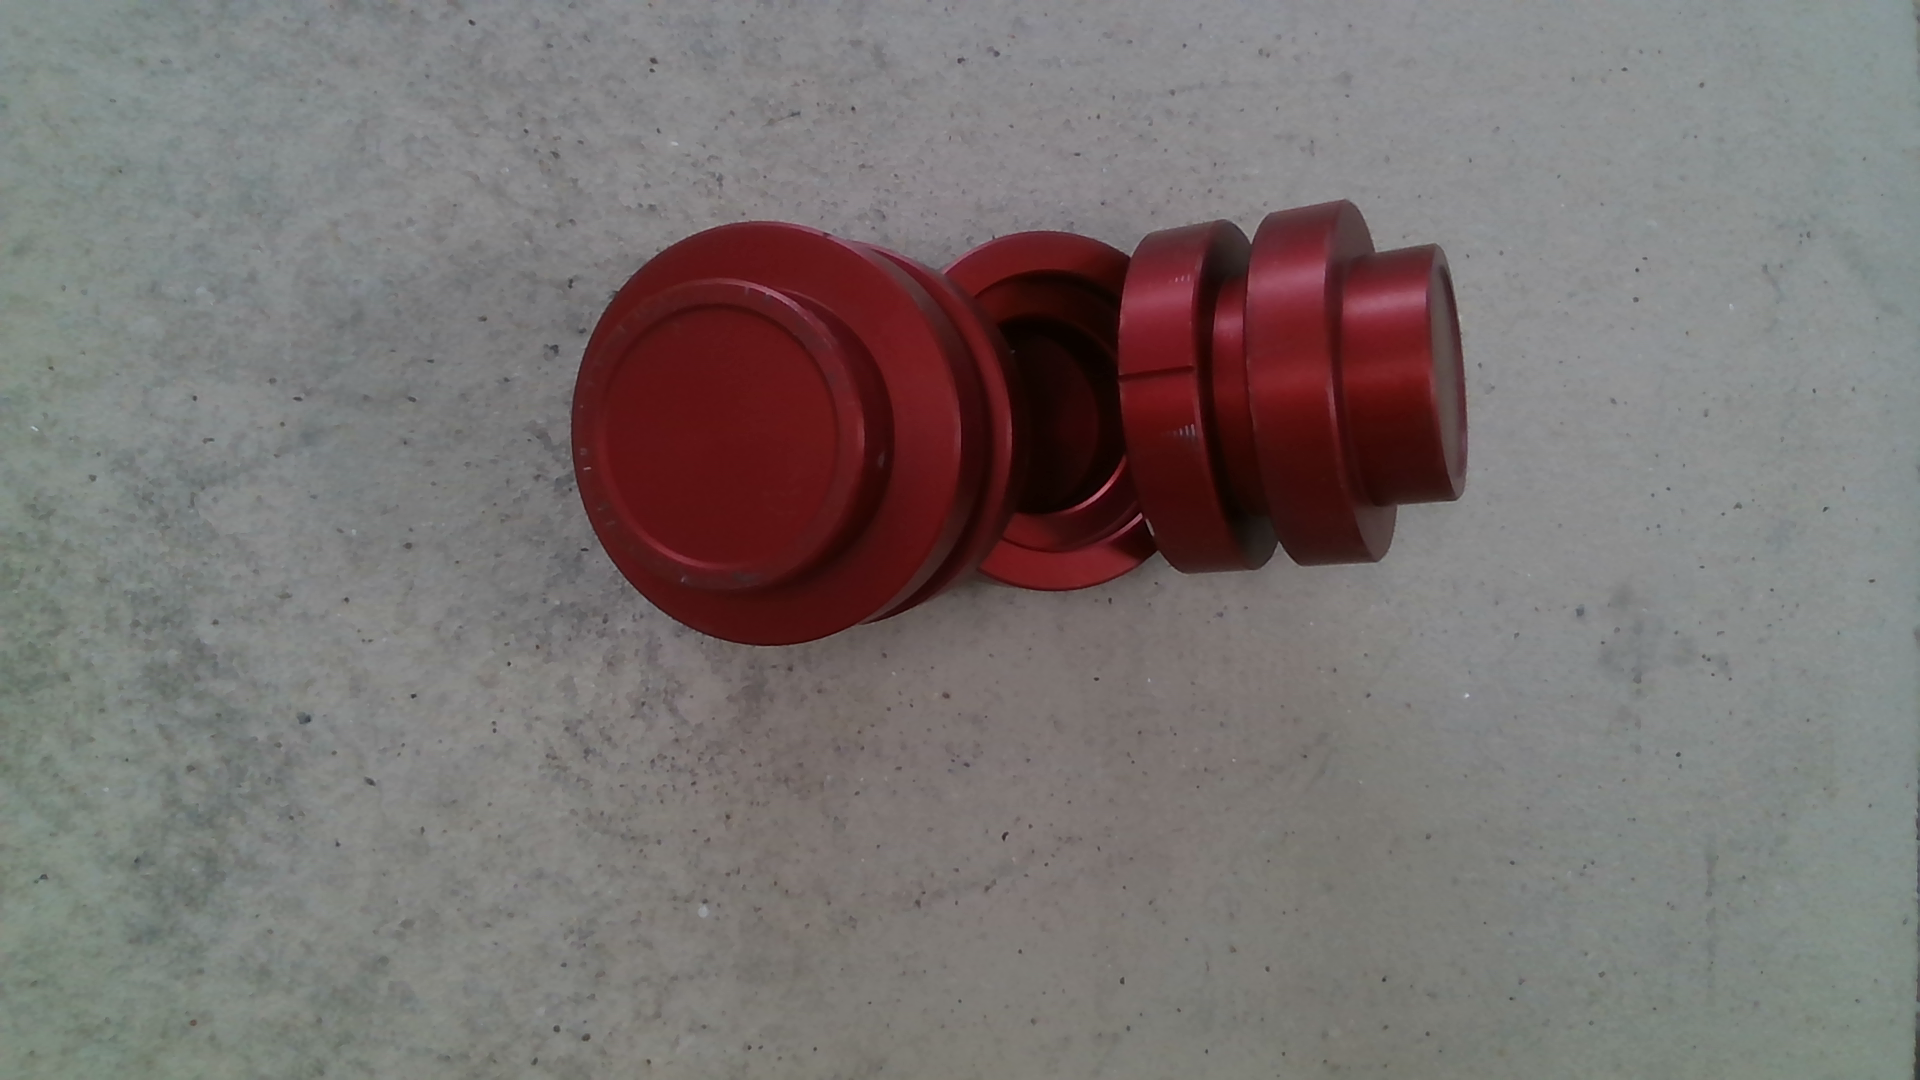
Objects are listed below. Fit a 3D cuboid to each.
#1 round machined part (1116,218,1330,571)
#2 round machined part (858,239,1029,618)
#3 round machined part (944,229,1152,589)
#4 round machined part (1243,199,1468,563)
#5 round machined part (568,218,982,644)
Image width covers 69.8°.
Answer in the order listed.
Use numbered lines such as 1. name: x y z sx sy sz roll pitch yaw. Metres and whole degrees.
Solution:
1. round machined part: 0.081 -0.041 0.385 0.098 0.042 0.098 16 72 -62
2. round machined part: -0.035 -0.027 0.346 0.098 0.042 0.098 1 94 16
3. round machined part: 0.019 -0.035 0.393 0.098 0.042 0.098 0 90 -20
4. round machined part: 0.111 -0.043 0.375 0.098 0.042 0.098 17 71 -61
5. round machined part: -0.047 -0.024 0.317 0.098 0.042 0.098 1 95 15
